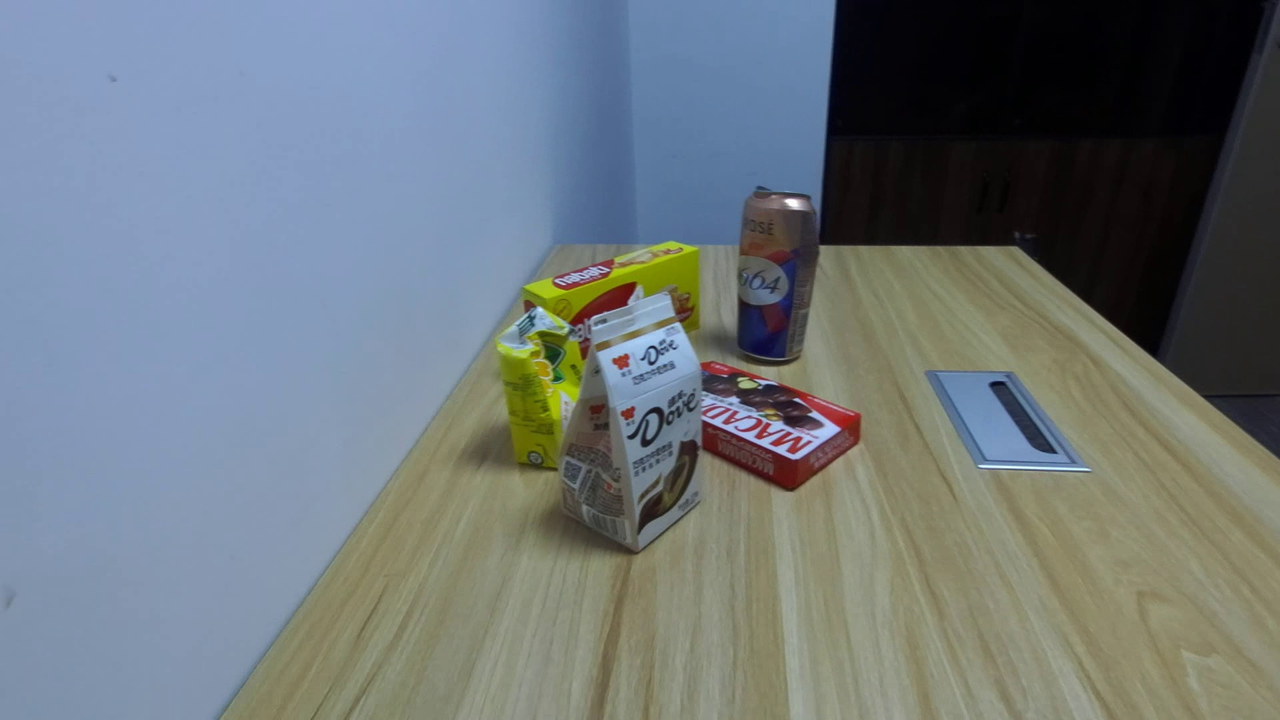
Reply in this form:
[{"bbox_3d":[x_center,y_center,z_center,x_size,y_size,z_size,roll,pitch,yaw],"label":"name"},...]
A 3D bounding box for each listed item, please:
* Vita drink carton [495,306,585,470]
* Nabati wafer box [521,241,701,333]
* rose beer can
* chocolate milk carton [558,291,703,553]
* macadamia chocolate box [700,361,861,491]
[{"bbox_3d":[-0.071,0.022,0.557,0.046,0.110,0.071,4,26,21],"label":"Vita drink carton"},{"bbox_3d":[-0.019,-0.051,0.718,0.204,0.093,0.042,-22,30,-36],"label":"Nabati wafer box"},{"bbox_3d":[0.131,-0.082,0.687,0.069,0.168,0.070,2,21,2],"label":"rose beer can"},{"bbox_3d":[-0.009,0.035,0.466,0.072,0.155,0.084,20,35,36],"label":"chocolate milk carton"},{"bbox_3d":[0.081,0.043,0.596,0.186,0.027,0.103,23,34,39],"label":"macadamia chocolate box"}]
